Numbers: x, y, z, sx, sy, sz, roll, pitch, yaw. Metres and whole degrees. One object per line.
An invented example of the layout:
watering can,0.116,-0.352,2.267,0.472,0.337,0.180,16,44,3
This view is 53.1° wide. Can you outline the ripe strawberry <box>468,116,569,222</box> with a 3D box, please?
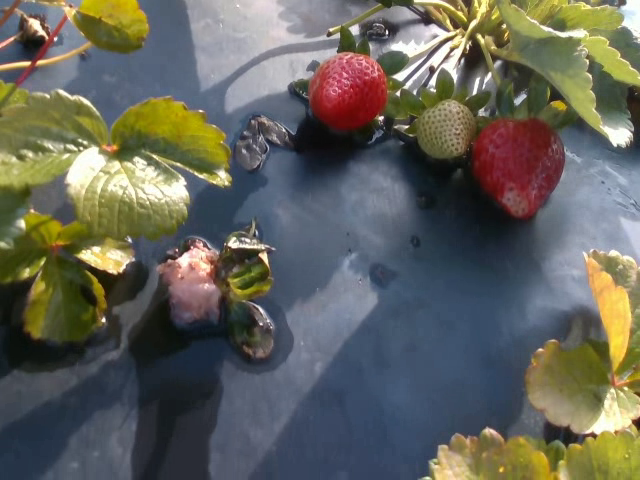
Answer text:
ripe strawberry,0.096,-0.034,0.310,0.048,0.065,0.050,-9,-36,34
